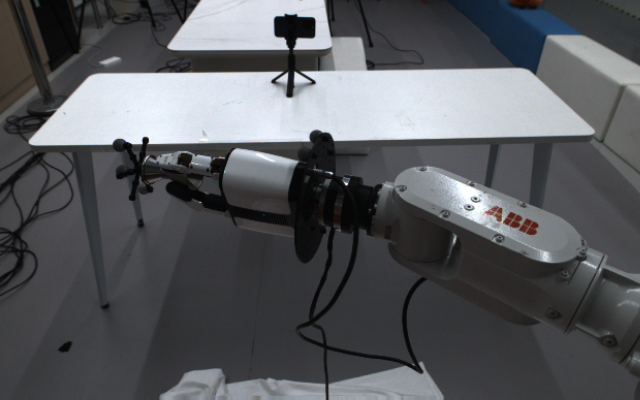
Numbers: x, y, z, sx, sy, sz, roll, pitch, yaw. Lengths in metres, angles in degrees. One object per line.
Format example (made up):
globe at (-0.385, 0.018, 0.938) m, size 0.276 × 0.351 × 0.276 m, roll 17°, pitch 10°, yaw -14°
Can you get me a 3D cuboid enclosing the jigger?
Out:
jigger at (-0.187, -0.042, 0.642) m, size 0.071 × 0.043 × 0.043 m, roll 5°, pitch 34°, yaw 13°
